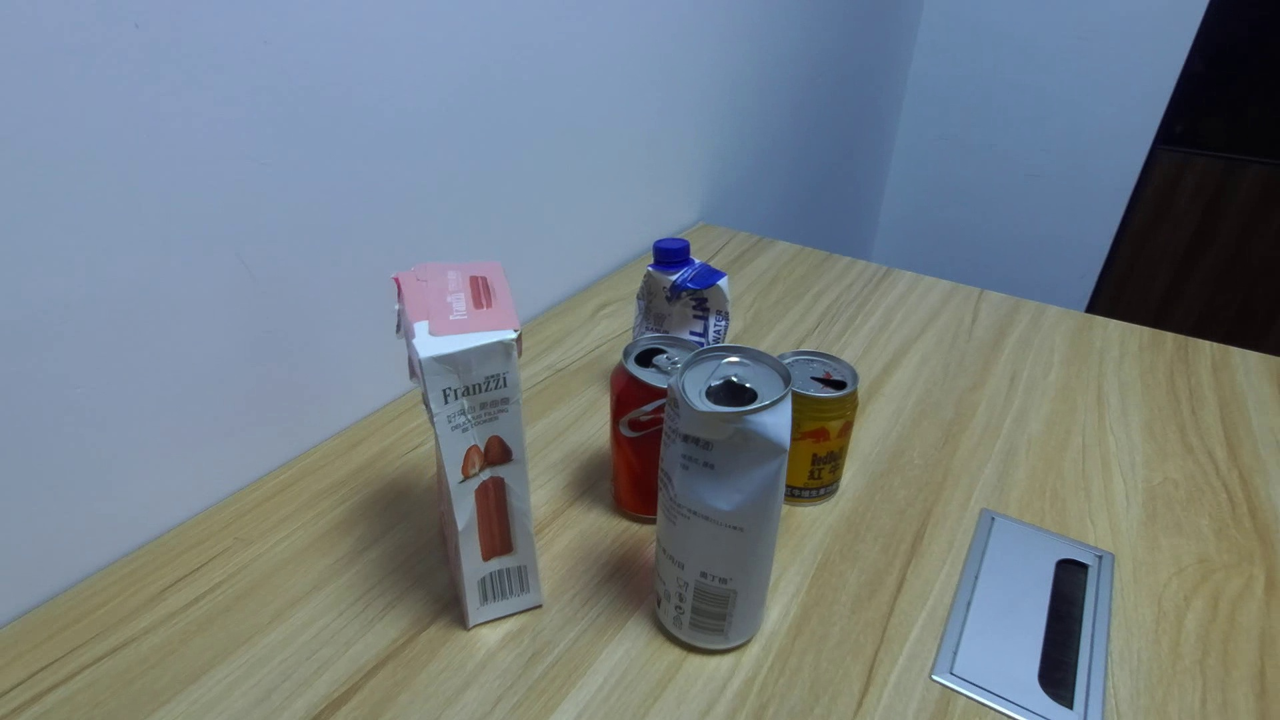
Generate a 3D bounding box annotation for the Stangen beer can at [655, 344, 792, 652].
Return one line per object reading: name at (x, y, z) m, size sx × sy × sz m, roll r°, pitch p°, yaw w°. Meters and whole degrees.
Stangen beer can at (0.042, 0.078, 0.372) m, size 0.066 × 0.166 × 0.066 m, roll 3°, pitch 32°, yaw 3°

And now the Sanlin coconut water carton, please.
Sanlin coconut water carton at (0.030, -0.021, 0.560) m, size 0.068 × 0.145 × 0.057 m, roll 31°, pitch 46°, yaw 30°

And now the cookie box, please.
cookie box at (-0.094, 0.050, 0.395) m, size 0.059 × 0.186 × 0.104 m, roll -8°, pitch 30°, yaw -19°

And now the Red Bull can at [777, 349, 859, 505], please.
Red Bull can at (0.116, 0.048, 0.501) m, size 0.067 × 0.093 × 0.067 m, roll 2°, pitch 30°, yaw -1°

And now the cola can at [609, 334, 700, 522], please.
cola can at (0.016, 0.042, 0.498) m, size 0.072 × 0.117 × 0.065 m, roll -3°, pitch 35°, yaw -5°
